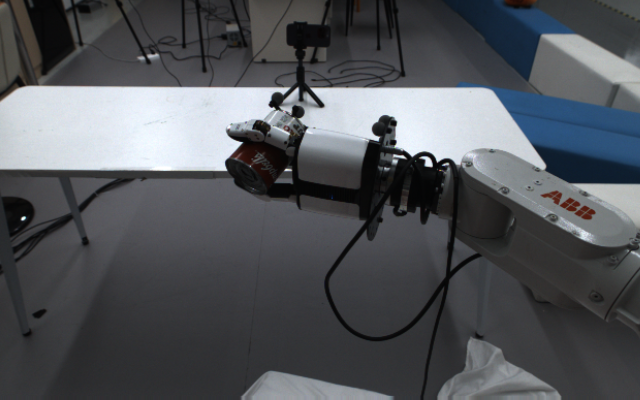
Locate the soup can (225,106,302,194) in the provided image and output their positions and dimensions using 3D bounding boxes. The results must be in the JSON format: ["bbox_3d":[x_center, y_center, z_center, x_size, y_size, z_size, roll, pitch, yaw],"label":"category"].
[{"bbox_3d":[-0.069,-0.066,0.652,0.067,0.067,0.101,22,61,26],"label":"soup can"}]
